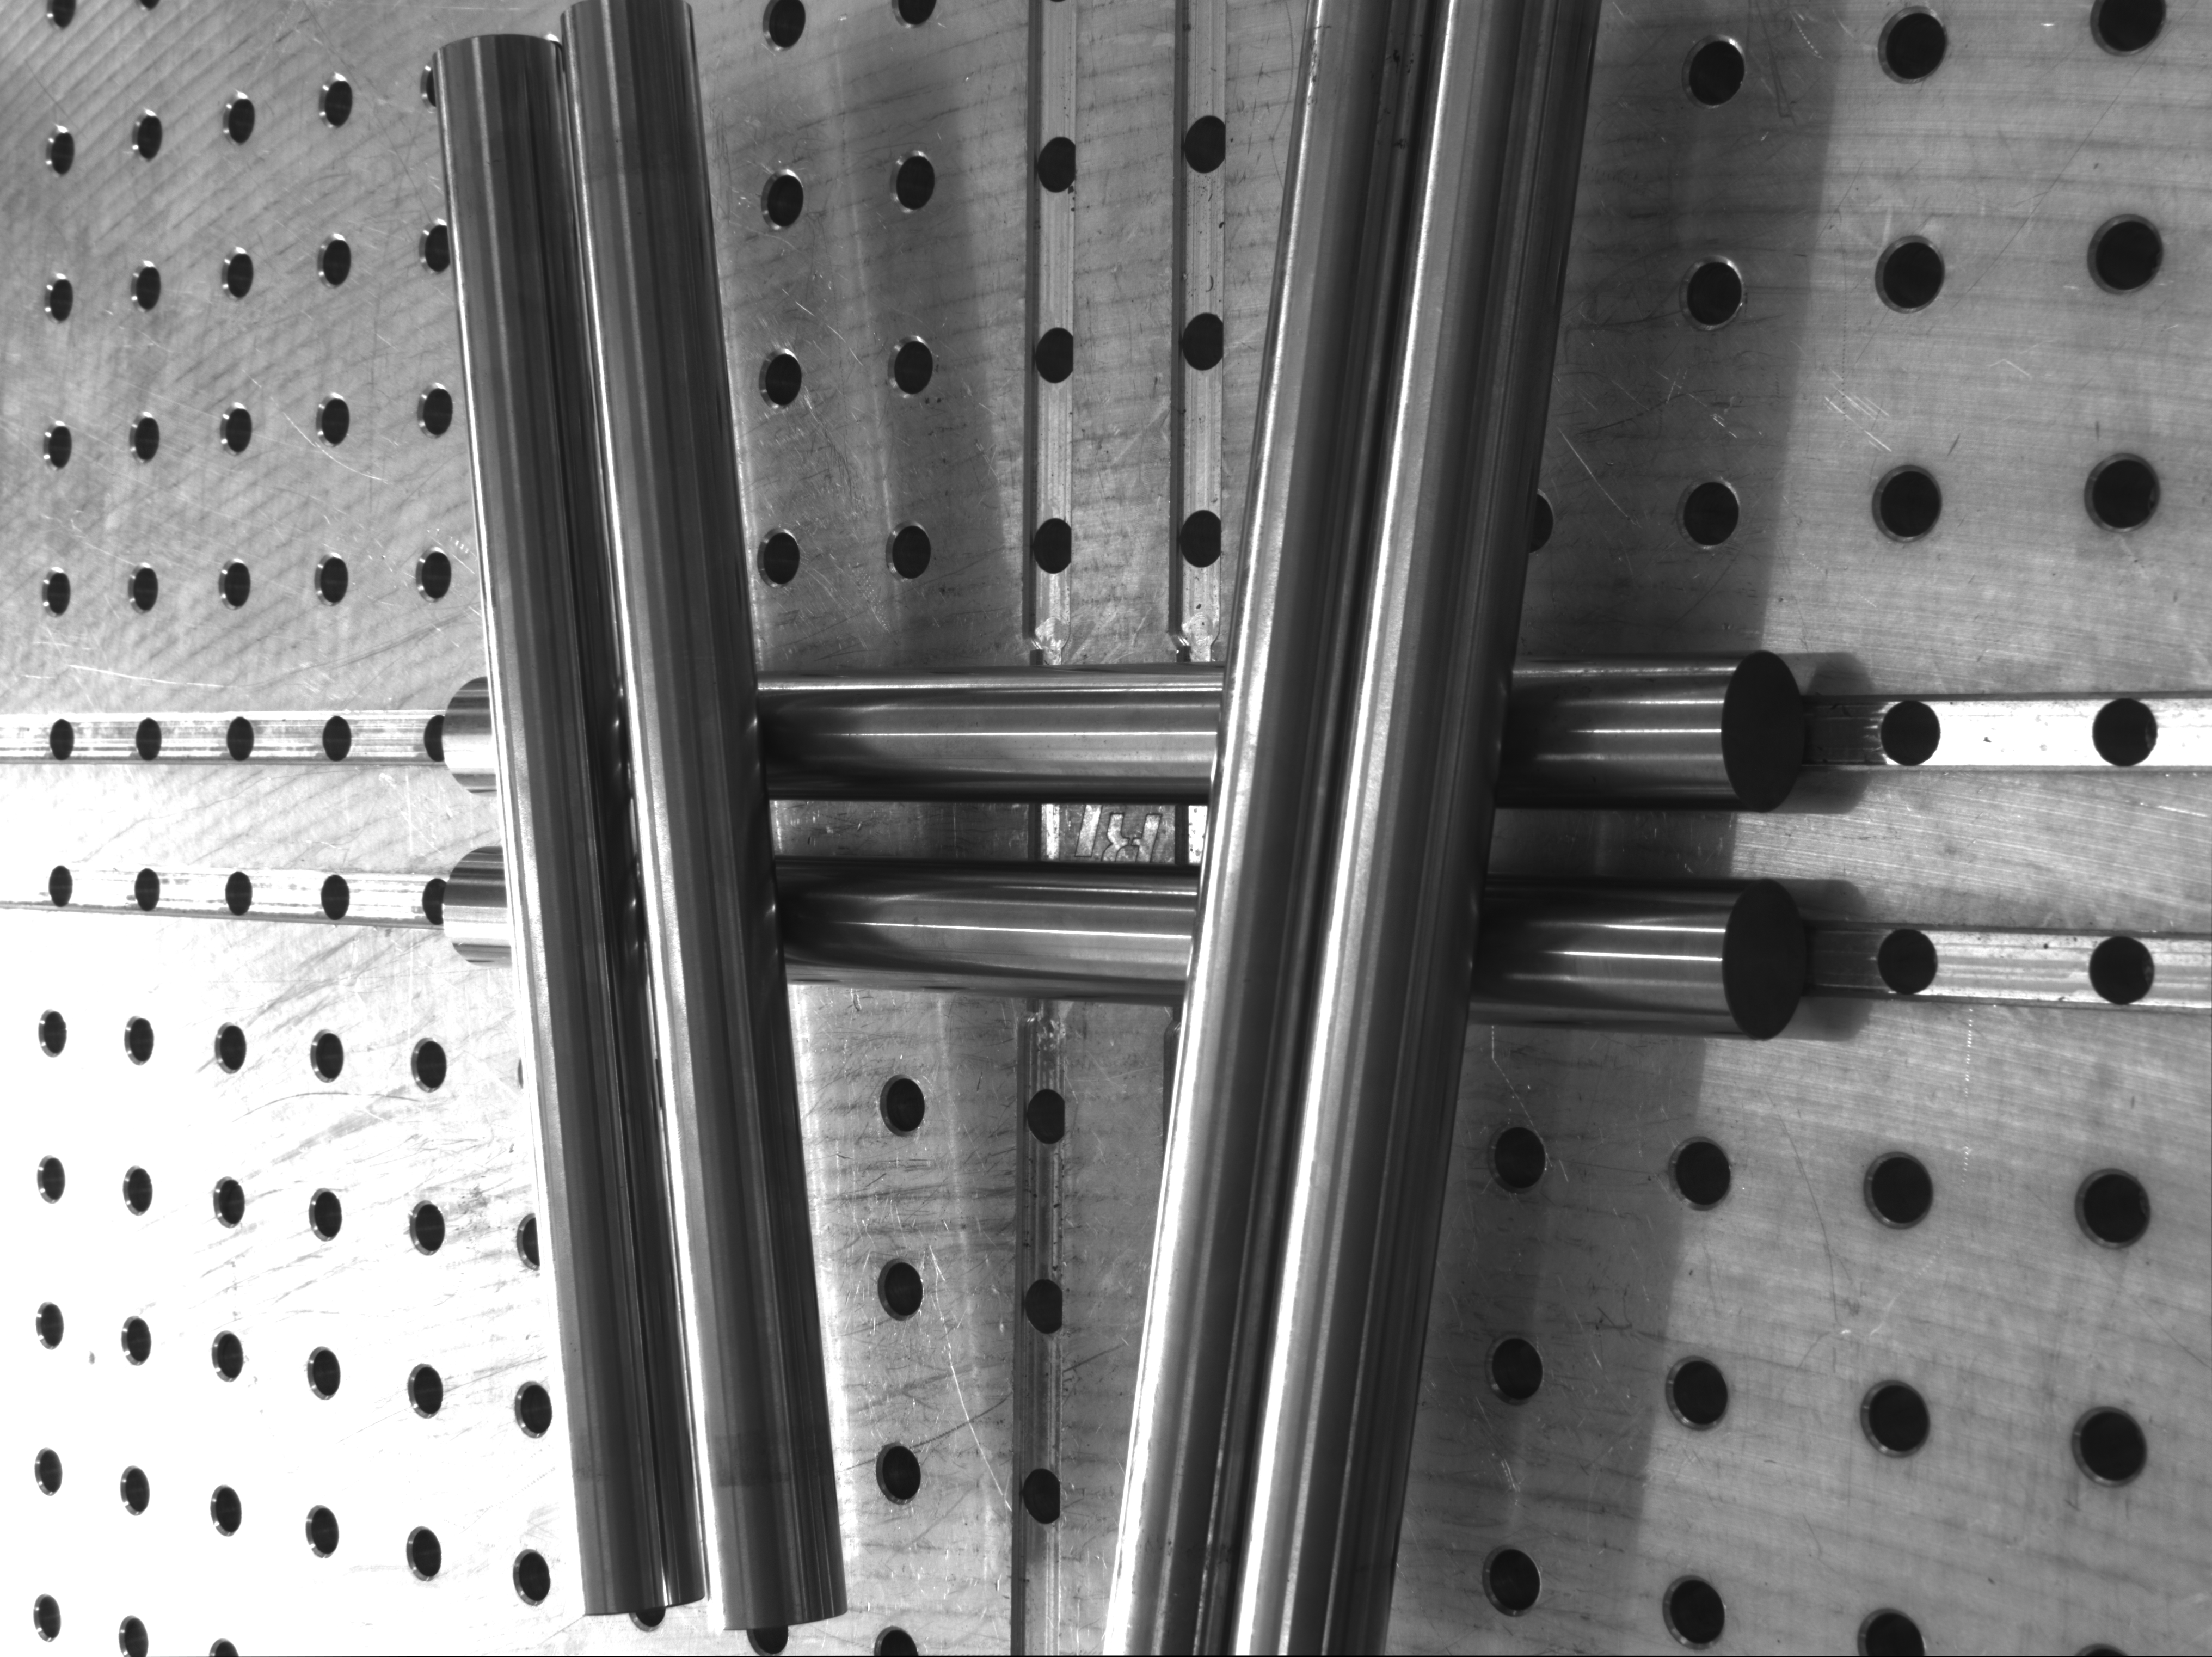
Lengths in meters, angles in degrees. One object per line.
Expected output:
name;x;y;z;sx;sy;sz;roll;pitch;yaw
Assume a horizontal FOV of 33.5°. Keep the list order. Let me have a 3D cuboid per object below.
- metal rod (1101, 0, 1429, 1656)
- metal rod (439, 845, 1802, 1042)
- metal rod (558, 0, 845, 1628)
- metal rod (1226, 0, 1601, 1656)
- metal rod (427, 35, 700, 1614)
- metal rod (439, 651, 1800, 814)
metal rod;0.028;0.000;0.593;0.025;0.025;0.300;12;97;40
metal rod;-0.013;0.018;0.661;0.299;0.025;0.025;1;91;40
metal rod;-0.075;-0.005;0.681;0.025;0.025;0.300;-10;83;40
metal rod;0.048;-0.001;0.577;0.025;0.025;0.300;12;97;40
metal rod;-0.104;-0.003;0.705;0.025;0.025;0.300;-11;83;40
metal rod;-0.014;-0.017;0.661;0.299;0.025;0.025;1;91;40
